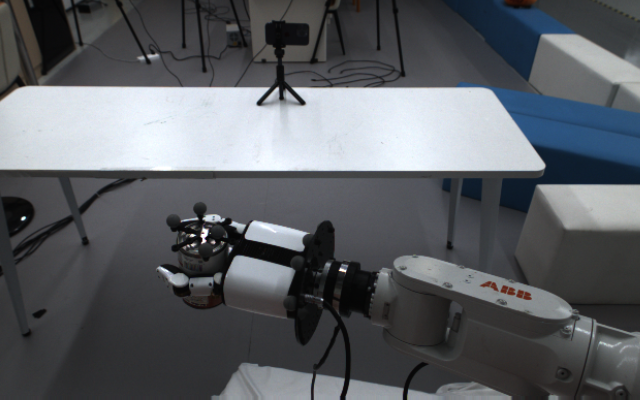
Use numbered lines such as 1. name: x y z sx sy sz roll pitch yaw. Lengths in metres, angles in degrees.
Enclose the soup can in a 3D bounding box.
1. soup can: -0.154 0.090 0.649 0.067 0.101 0.067 5 37 -4
